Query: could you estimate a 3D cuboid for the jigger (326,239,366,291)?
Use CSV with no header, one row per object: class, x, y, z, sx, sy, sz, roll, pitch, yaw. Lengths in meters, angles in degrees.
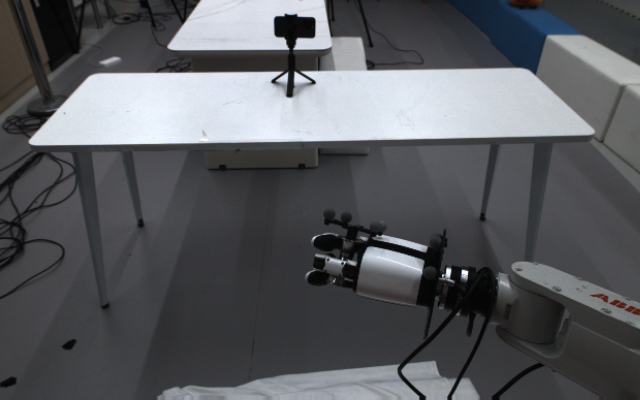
jigger,0.040,0.089,0.706,0.043,0.071,0.043,14,1,0
